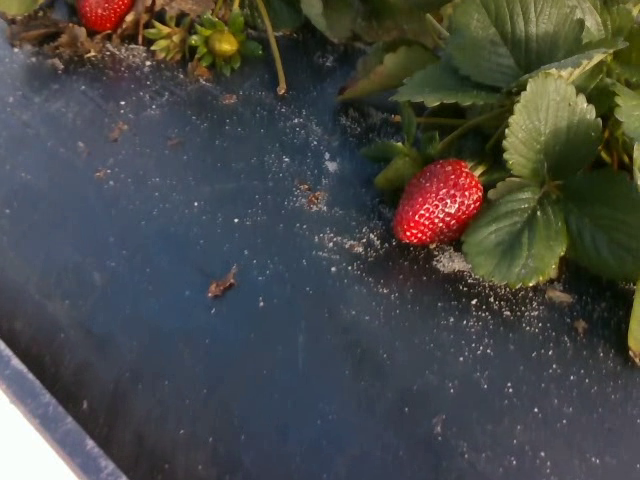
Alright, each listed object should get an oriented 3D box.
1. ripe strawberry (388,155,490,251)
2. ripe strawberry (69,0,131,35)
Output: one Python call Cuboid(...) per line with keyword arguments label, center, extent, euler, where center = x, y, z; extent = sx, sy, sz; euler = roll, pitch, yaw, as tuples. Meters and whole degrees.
Cuboid(label="ripe strawberry", center=(0.032, -0.011, 0.183), extent=(0.029, 0.021, 0.036), euler=(30, 54, 33))
Cuboid(label="ripe strawberry", center=(-0.095, -0.101, 0.264), extent=(0.031, 0.026, 0.030), euler=(-1, 33, 7))
